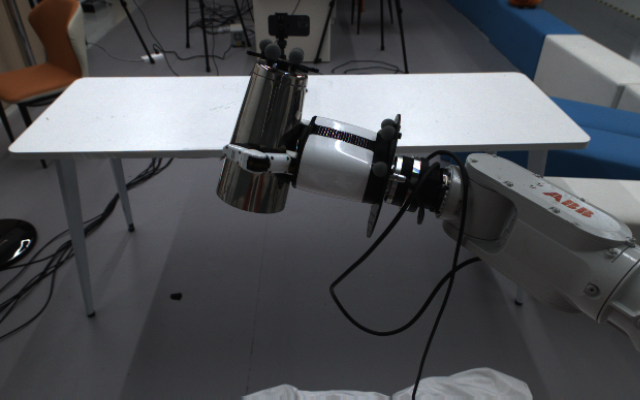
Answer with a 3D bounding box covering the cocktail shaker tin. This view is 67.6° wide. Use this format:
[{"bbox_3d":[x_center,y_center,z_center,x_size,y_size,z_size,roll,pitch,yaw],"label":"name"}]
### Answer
[{"bbox_3d":[-0.067,-0.079,0.605,0.093,0.170,0.093,14,20,-5],"label":"cocktail shaker tin"}]
